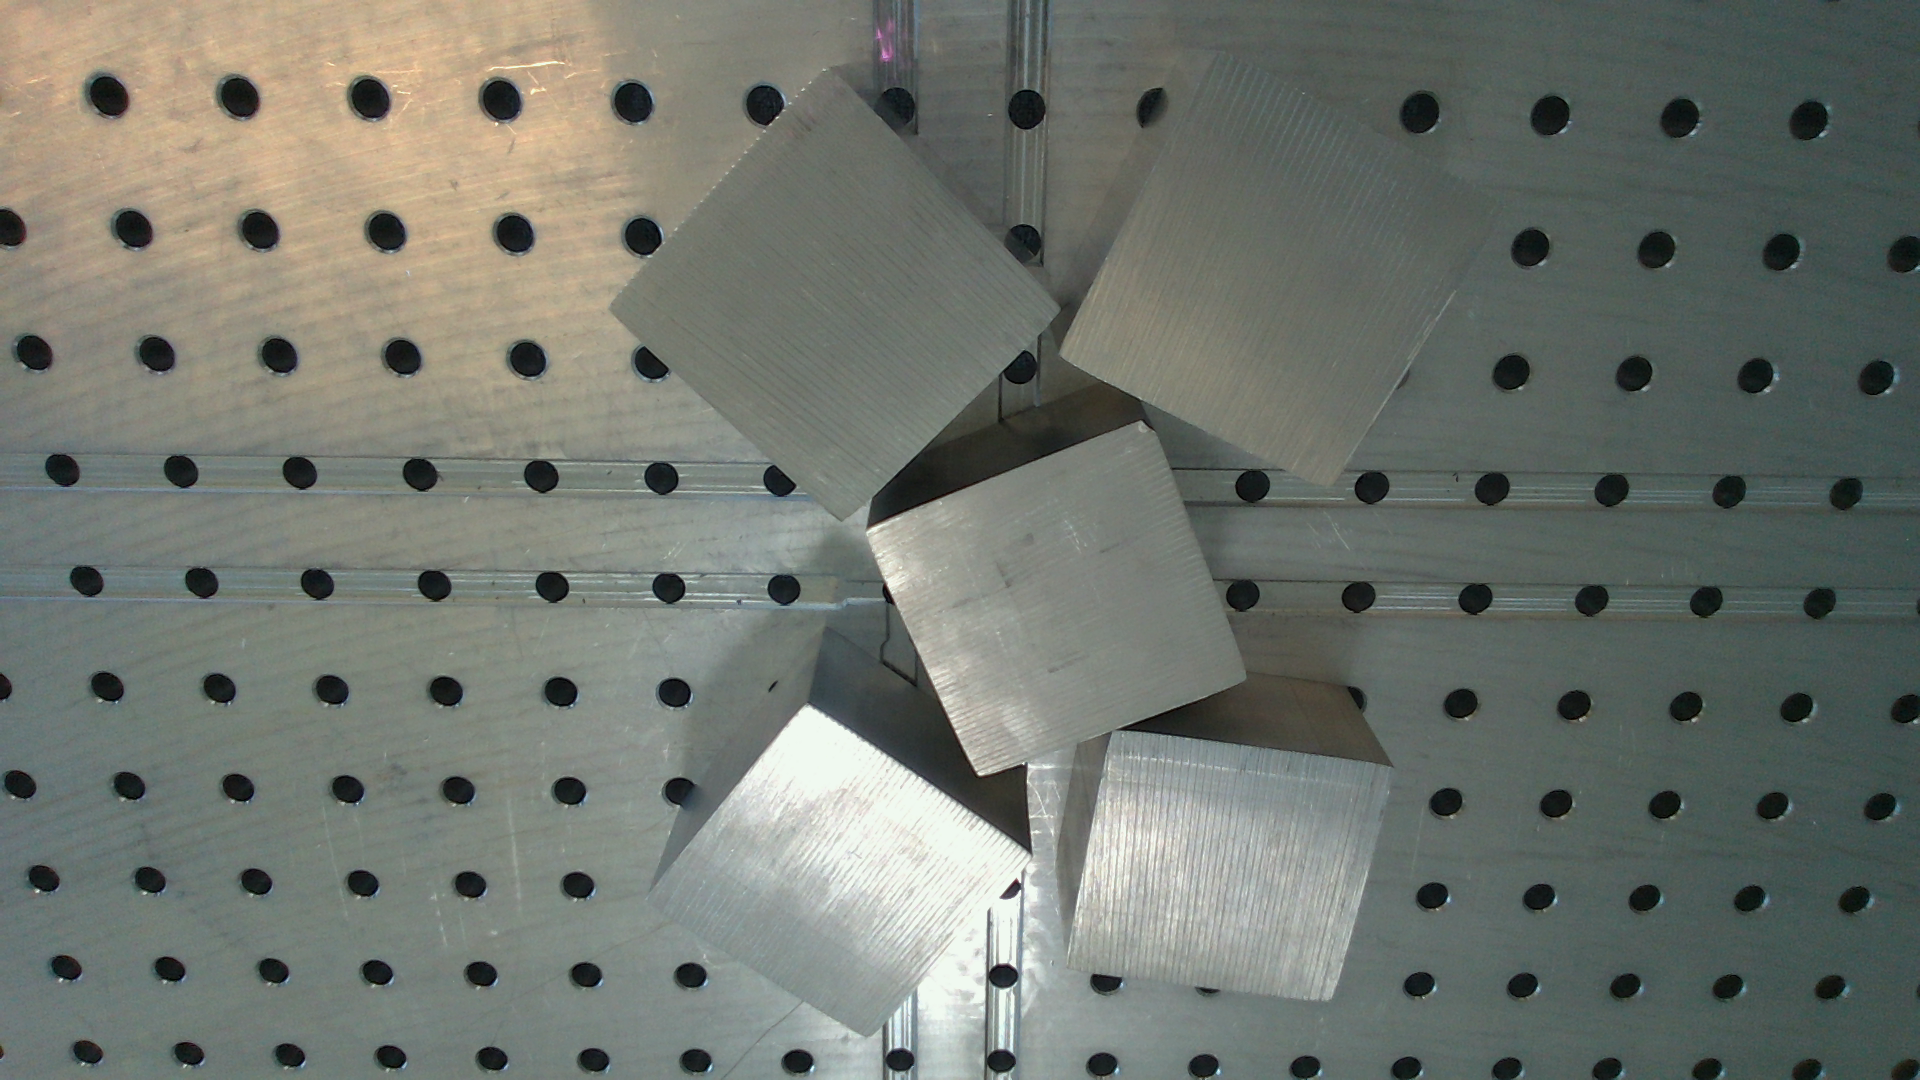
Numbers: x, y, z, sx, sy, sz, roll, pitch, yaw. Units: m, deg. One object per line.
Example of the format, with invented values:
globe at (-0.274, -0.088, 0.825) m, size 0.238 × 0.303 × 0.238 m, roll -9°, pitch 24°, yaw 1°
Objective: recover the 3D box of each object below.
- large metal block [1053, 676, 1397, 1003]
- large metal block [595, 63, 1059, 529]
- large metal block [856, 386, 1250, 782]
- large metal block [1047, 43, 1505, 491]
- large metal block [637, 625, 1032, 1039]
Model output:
large metal block at (0.075, 0.086, 0.415) m, size 0.080 × 0.050 × 0.080 m, roll 8°, pitch 110°, yaw -4°
large metal block at (-0.032, -0.065, 0.359) m, size 0.080 × 0.050 × 0.080 m, roll -42°, pitch 104°, yaw 14°
large metal block at (0.026, 0.009, 0.386) m, size 0.080 × 0.050 × 0.080 m, roll -21°, pitch 109°, yaw 8°
large metal block at (0.076, -0.071, 0.356) m, size 0.080 × 0.050 × 0.080 m, roll 23°, pitch 109°, yaw -11°
large metal block at (-0.036, 0.087, 0.413) m, size 0.080 × 0.050 × 0.080 m, roll 36°, pitch 106°, yaw -12°
